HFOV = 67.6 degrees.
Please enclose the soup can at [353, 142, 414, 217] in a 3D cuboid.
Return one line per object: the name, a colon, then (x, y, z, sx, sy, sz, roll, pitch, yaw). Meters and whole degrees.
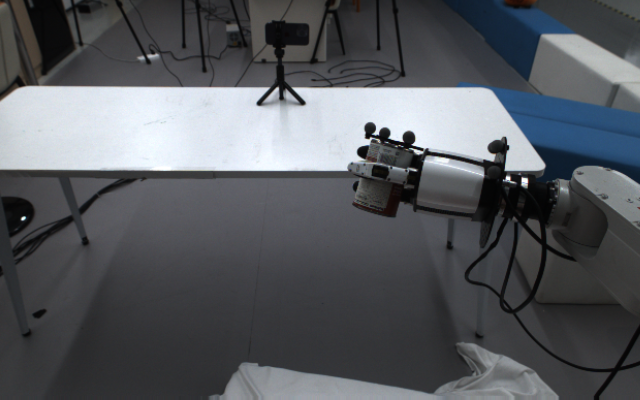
soup can: (0.095, -0.032, 0.716, 0.067, 0.101, 0.067, 15, 7, -2)
